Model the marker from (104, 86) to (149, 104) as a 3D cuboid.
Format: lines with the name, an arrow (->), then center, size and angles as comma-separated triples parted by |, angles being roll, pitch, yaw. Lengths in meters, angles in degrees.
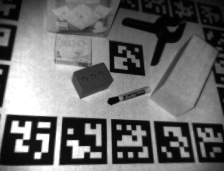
marker -> 0.036, 0.024, 0.544 | 0.122, 0.019, 0.019 | -15, 76, -21

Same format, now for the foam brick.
foam brick -> -0.047, -0.017, 0.519 | 0.079, 0.051, 0.052 | -20, 78, -22

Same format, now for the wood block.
wood block -> 0.200, -0.036, 0.583 | 0.090, 0.091, 0.207 | 36, 61, 3

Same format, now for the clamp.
clamp -> 0.156, -0.170, 0.647 | 0.204, 0.036, 0.165 | -27, 80, -24

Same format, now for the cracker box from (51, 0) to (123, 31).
cracker box -> -0.054, -0.219, 0.500 | 0.165, 0.213, 0.071 | 1, 68, -17

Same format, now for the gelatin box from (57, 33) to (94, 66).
gelatin box -> -0.091, -0.092, 0.549 | 0.090, 0.030, 0.073 | 4, 70, -15
